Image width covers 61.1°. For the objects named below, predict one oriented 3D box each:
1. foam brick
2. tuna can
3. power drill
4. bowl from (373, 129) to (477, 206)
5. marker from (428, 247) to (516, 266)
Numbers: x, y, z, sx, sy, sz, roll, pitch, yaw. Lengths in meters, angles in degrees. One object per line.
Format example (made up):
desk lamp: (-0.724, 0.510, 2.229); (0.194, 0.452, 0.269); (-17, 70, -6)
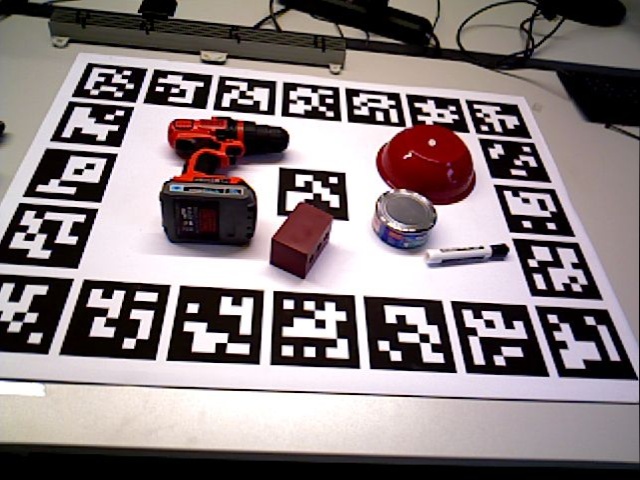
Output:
foam brick: (-0.023, 0.006, 0.684); (0.051, 0.054, 0.076); (23, 52, 9)
tuna can: (0.118, -0.028, 0.737); (0.085, 0.034, 0.084); (6, 49, -7)
power drill: (-0.138, -0.091, 0.741); (0.183, 0.059, 0.184); (5, 47, -9)
bowl: (0.165, -0.122, 0.823); (0.161, 0.056, 0.159); (2, 43, -3)
marker: (0.202, 0.022, 0.717); (0.120, 0.020, 0.019); (-3, 52, -12)
